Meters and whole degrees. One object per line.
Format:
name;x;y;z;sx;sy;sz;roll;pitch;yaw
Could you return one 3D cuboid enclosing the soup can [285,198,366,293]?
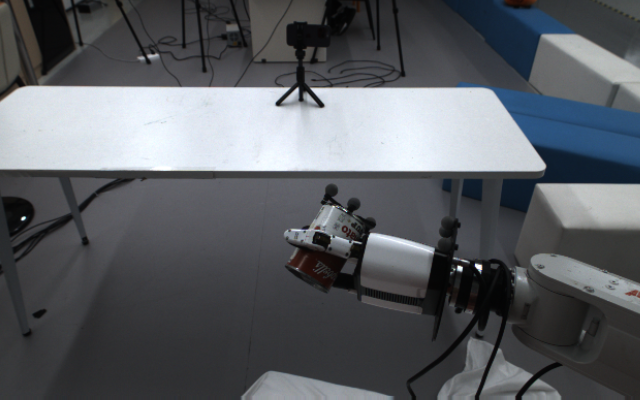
soup can;0.008;0.063;0.643;0.067;0.067;0.101;24;72;29
